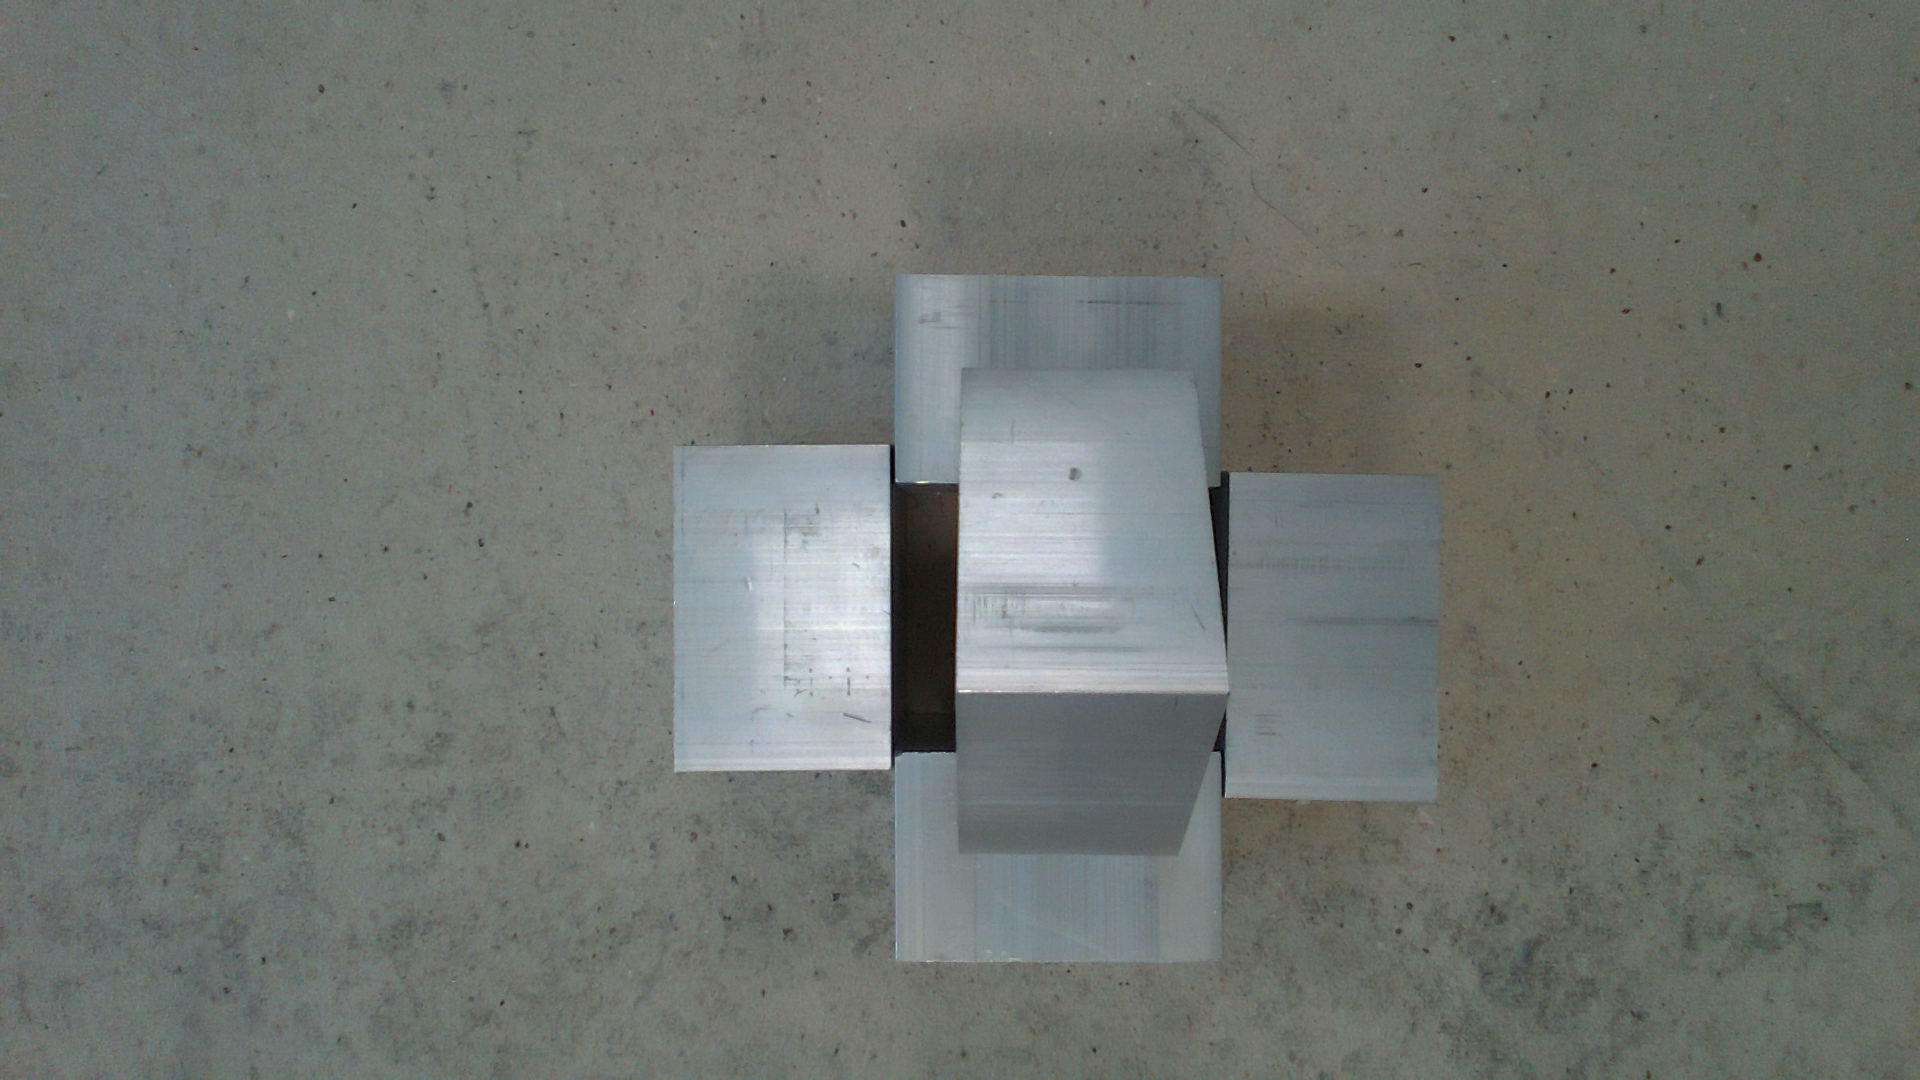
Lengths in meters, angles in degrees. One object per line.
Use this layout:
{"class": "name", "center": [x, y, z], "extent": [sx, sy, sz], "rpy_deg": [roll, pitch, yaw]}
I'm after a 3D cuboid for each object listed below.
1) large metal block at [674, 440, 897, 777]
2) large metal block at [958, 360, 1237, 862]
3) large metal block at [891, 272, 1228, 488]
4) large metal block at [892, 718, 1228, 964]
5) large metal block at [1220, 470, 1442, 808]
{"class": "large metal block", "center": [-0.043, 0.016, 0.367], "extent": [0.050, 0.080, 0.080], "rpy_deg": [0, 90, 0]}
{"class": "large metal block", "center": [0.025, 0.018, 0.303], "extent": [0.050, 0.080, 0.080], "rpy_deg": [1, 56, 0]}
{"class": "large metal block", "center": [0.024, -0.039, 0.368], "extent": [0.080, 0.080, 0.050], "rpy_deg": [1, 90, 0]}
{"class": "large metal block", "center": [0.024, 0.076, 0.369], "extent": [0.080, 0.080, 0.050], "rpy_deg": [0, 90, 0]}
{"class": "large metal block", "center": [0.090, 0.024, 0.368], "extent": [0.050, 0.080, 0.080], "rpy_deg": [1, 90, 0]}
